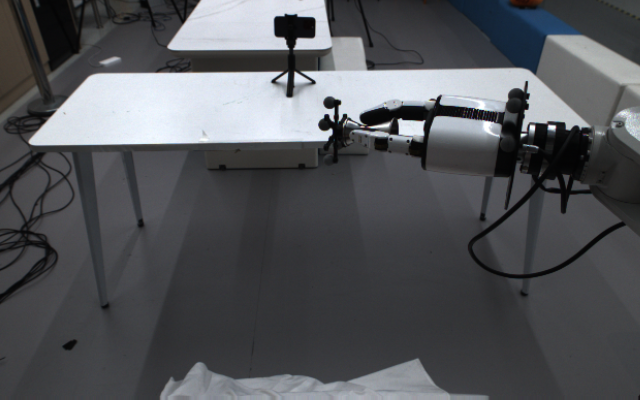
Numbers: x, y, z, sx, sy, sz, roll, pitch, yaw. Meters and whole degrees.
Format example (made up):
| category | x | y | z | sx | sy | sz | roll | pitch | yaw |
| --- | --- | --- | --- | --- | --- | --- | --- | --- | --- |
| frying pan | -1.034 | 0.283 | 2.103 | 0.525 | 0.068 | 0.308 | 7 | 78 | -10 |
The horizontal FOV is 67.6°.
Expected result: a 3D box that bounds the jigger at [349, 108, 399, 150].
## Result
| category | x | y | z | sx | sy | sz | roll | pitch | yaw |
| --- | --- | --- | --- | --- | --- | --- | --- | --- | --- |
| jigger | 0.075 | -0.095 | 0.666 | 0.071 | 0.043 | 0.043 | 5 | 34 | 22 |
